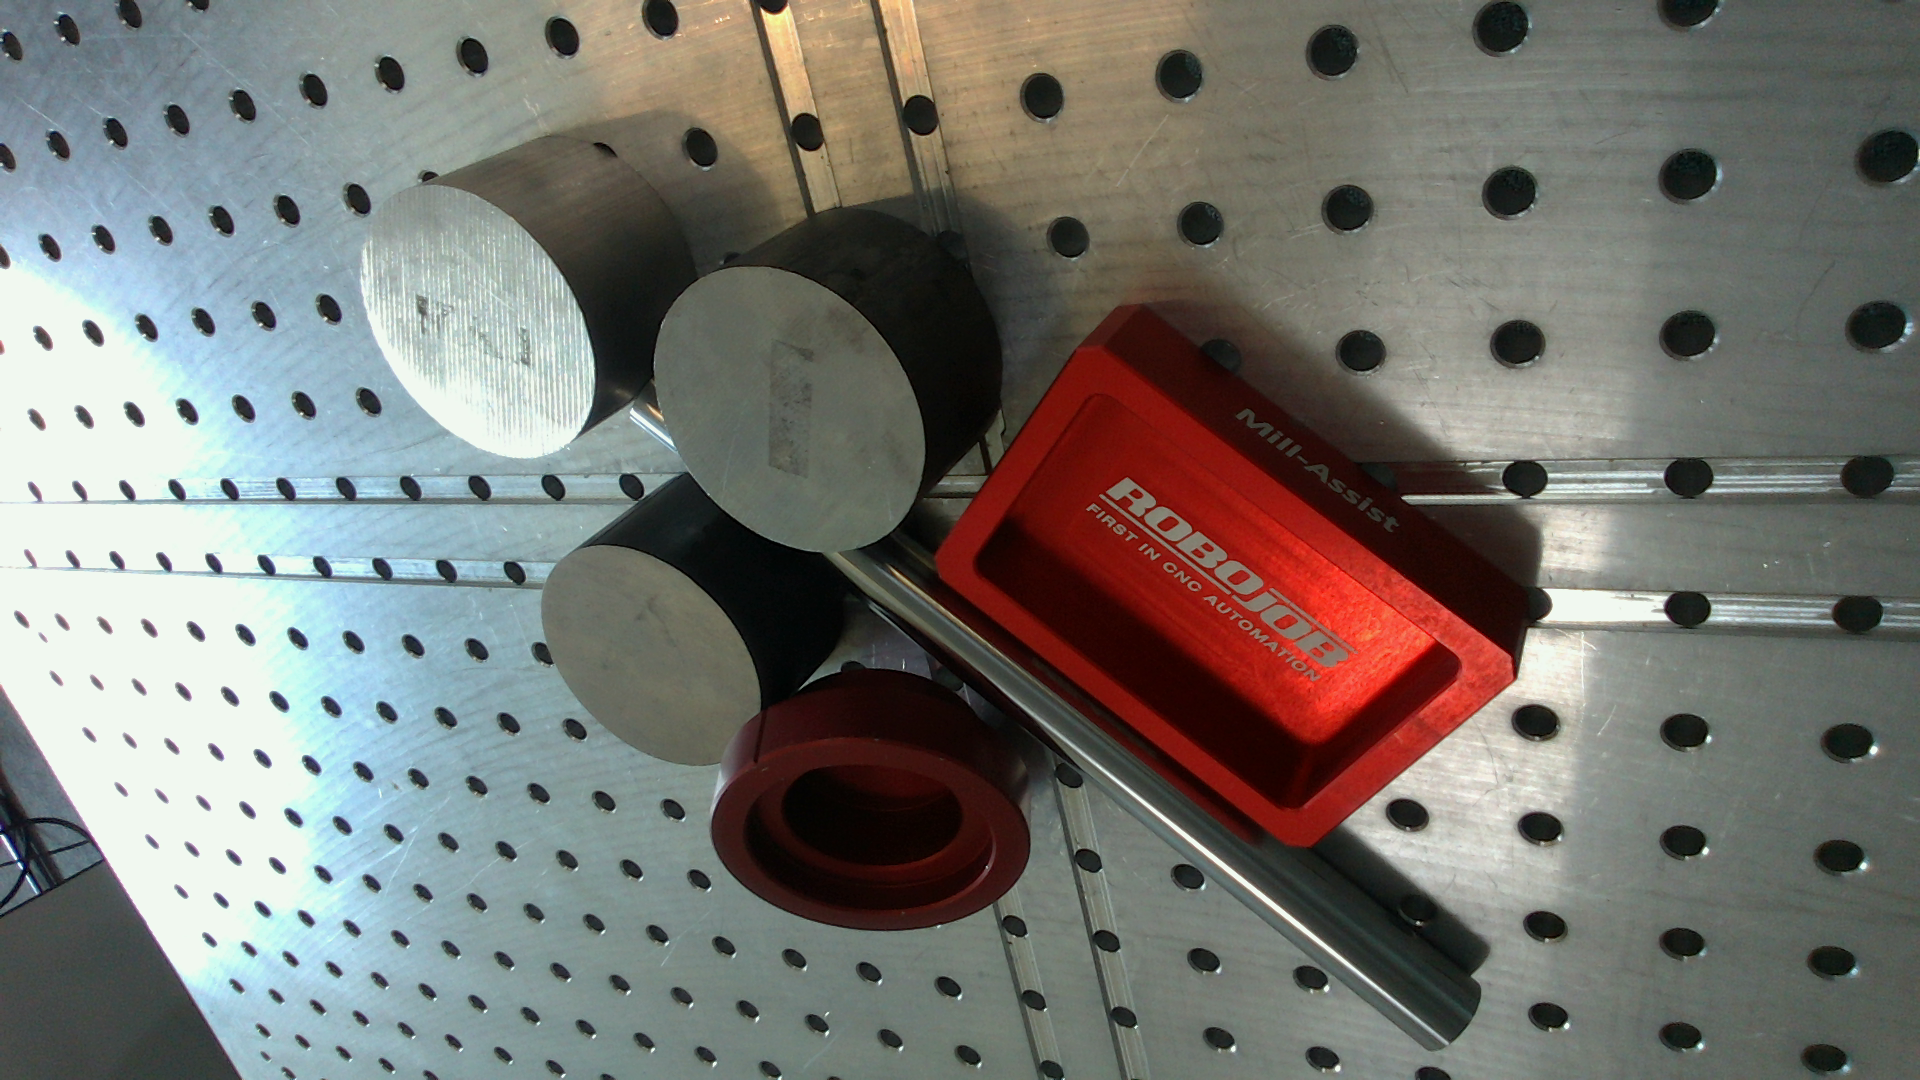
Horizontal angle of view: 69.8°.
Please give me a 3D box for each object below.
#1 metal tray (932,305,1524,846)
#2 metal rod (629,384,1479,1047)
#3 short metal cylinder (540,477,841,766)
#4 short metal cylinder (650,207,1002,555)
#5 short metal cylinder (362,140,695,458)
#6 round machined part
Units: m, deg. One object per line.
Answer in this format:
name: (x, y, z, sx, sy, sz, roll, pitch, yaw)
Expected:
metal tray: (0.067, 0.012, 0.363, 0.130, 0.030, 0.090, 37, 130, 3)
metal rod: (0.026, 0.046, 0.411, 0.300, 0.025, 0.025, 38, 129, 2)
short metal cylinder: (-0.086, 0.025, 0.441, 0.080, 0.050, 0.080, 13, 124, 21)
short metal cylinder: (-0.035, -0.043, 0.371, 0.080, 0.050, 0.080, 13, 124, 21)
short metal cylinder: (-0.125, -0.071, 0.403, 0.080, 0.050, 0.080, 13, 124, 21)
round machined part: (-0.027, 0.078, 0.434, 0.098, 0.042, 0.098, 2, 131, 2)
